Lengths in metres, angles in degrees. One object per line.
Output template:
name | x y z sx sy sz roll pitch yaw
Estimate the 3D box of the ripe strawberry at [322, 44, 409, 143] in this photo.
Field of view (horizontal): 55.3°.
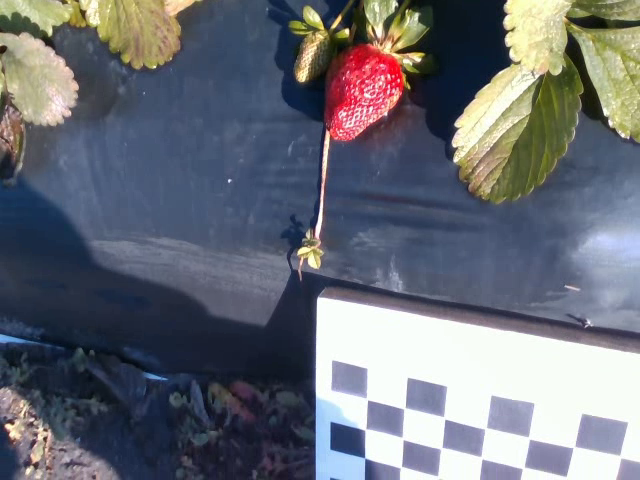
ripe strawberry | 0.019 -0.069 0.287 0.041 0.053 0.043 19 -17 10
